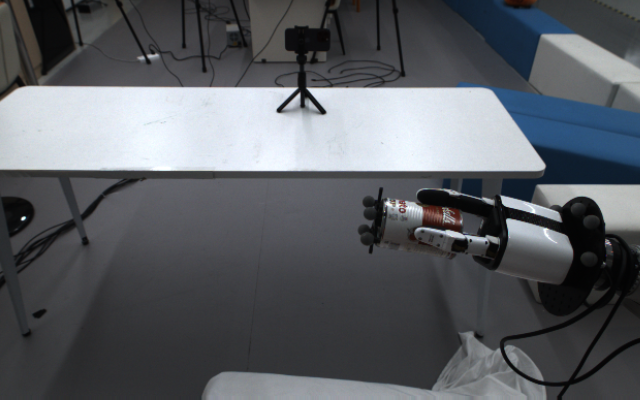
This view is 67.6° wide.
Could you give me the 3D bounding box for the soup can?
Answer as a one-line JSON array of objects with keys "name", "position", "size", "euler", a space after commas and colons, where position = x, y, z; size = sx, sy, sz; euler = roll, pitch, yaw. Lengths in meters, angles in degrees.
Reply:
[{"name": "soup can", "position": [0.131, 0.036, 0.640], "size": [0.101, 0.067, 0.067], "euler": [9, 35, 0]}]
